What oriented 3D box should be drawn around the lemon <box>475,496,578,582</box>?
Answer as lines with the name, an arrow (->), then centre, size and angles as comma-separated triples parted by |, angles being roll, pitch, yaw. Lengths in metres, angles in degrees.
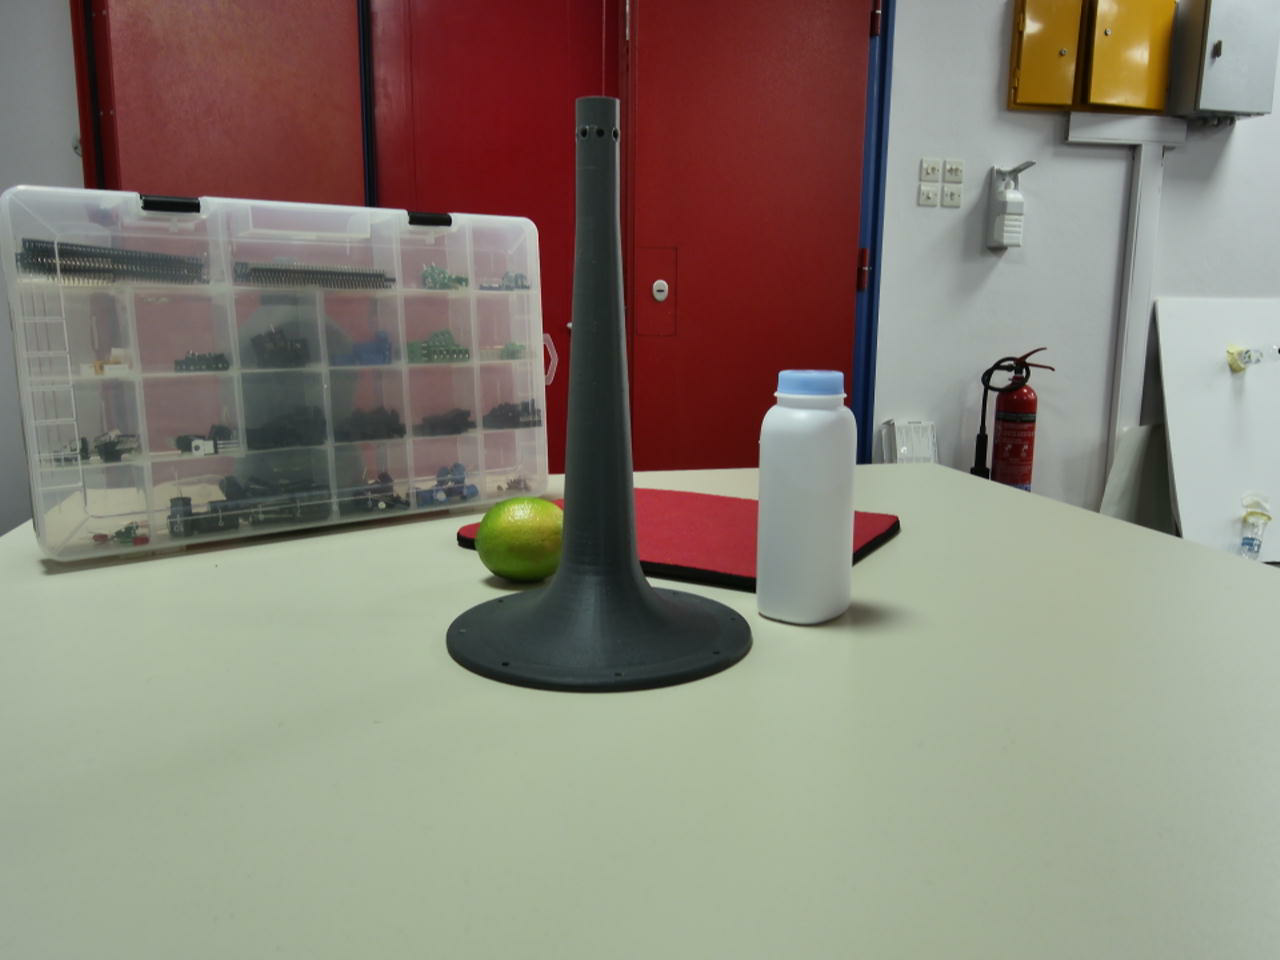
lemon -> -0.069, 0.035, 0.599 | 0.055, 0.050, 0.054 | 5, 10, 37
